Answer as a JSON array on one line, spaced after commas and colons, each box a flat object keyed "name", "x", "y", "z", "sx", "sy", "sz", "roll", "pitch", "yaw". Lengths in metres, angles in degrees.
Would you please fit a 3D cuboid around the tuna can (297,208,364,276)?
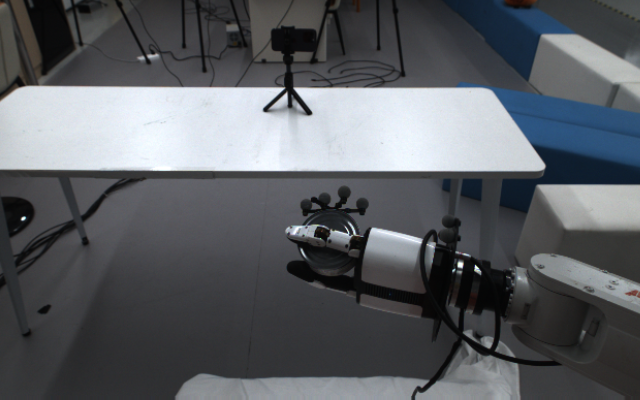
[{"name": "tuna can", "x": 0.015, "y": 0.057, "z": 0.649, "sx": 0.085, "sy": 0.034, "sz": 0.085, "roll": -6, "pitch": 61, "yaw": 10}]
